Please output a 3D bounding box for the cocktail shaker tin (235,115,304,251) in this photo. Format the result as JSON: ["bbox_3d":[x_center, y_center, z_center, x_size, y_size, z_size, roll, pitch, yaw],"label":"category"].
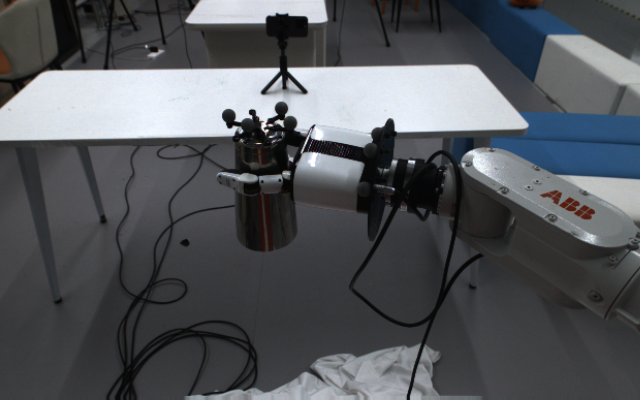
[{"bbox_3d":[-0.075,-0.024,0.677,0.093,0.170,0.093,1,39,-1],"label":"cocktail shaker tin"}]
